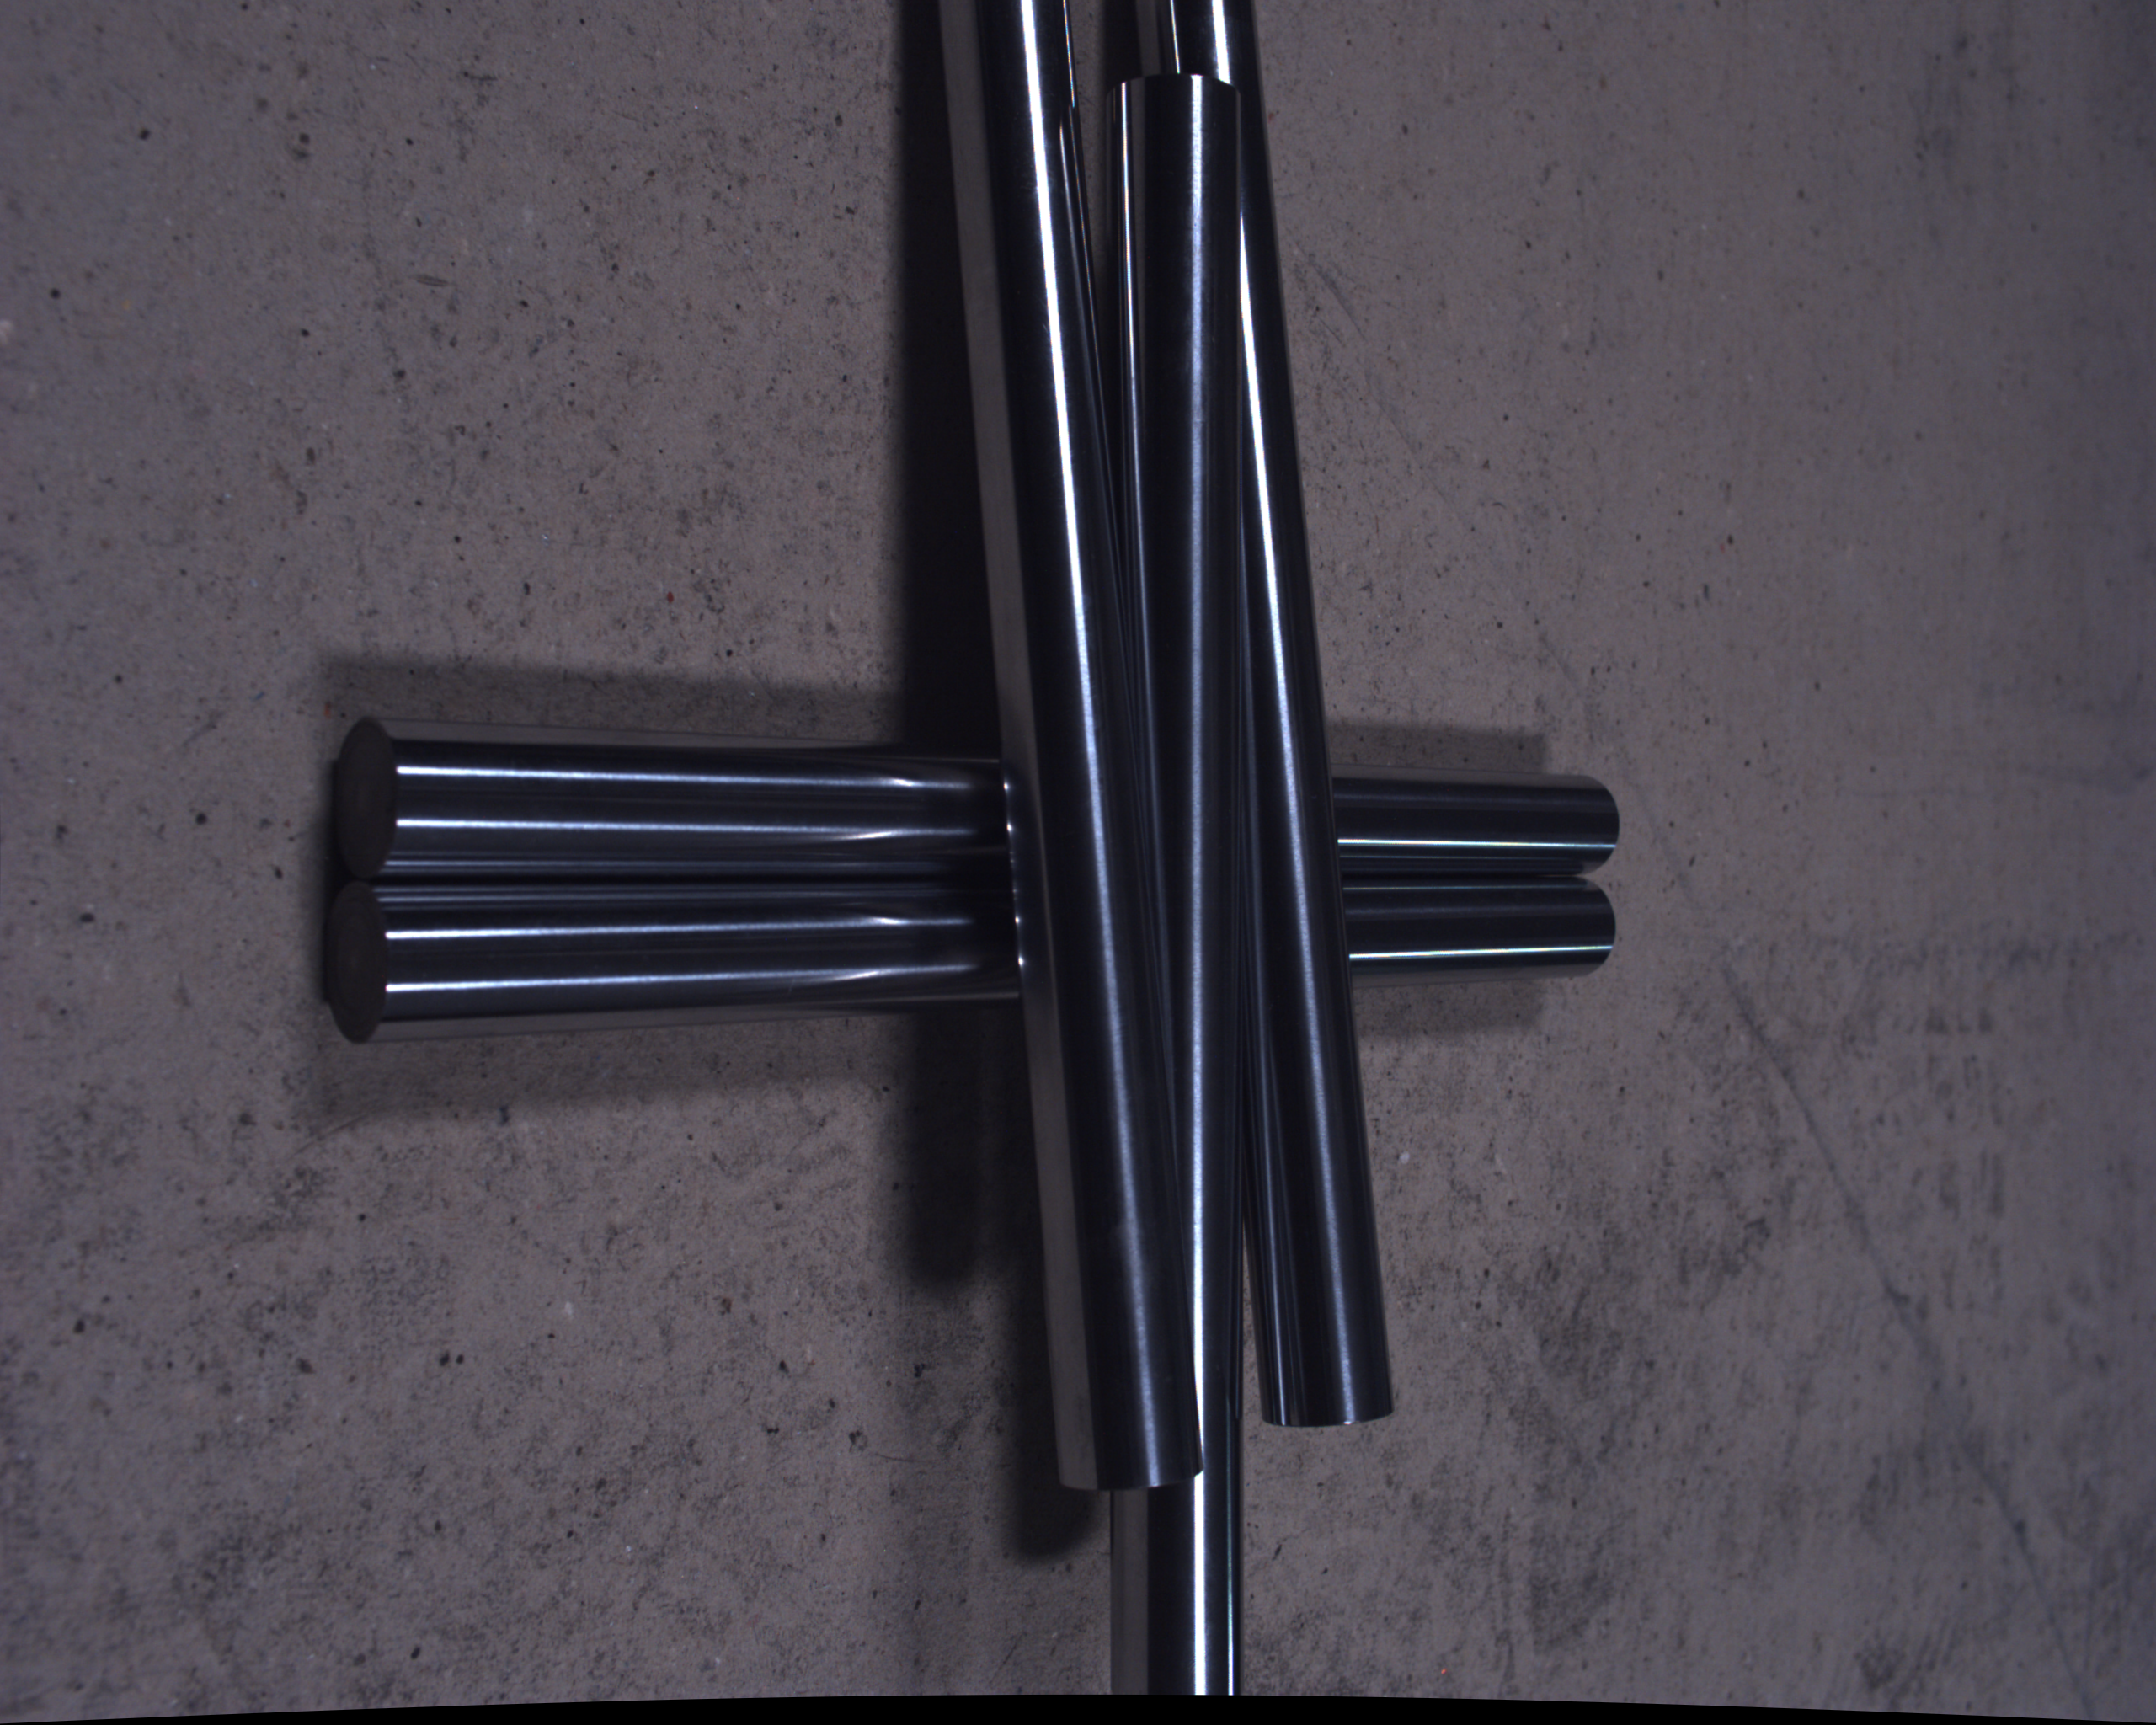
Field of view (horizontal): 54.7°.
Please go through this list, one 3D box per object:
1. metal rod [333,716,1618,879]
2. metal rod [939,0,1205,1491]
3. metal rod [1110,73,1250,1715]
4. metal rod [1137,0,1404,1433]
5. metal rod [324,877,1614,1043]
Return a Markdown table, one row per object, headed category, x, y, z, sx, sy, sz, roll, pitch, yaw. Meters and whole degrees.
| category | x | y | z | sx | sy | sz | roll | pitch | yaw |
| --- | --- | --- | --- | --- | --- | --- | --- | --- | --- |
| metal rod | 0.007 | -0.010 | 0.415 | 0.302 | 0.025 | 0.025 | 0 | 90 | -40 |
| metal rod | -0.003 | -0.041 | 0.378 | 0.025 | 0.025 | 0.298 | 0 | 82 | -40 |
| metal rod | 0.019 | 0.006 | 0.391 | 0.025 | 0.025 | 0.298 | 0 | 90 | -40 |
| metal rod | 0.036 | -0.042 | 0.411 | 0.025 | 0.025 | 0.298 | 0 | 82 | -40 |
| metal rod | 0.006 | 0.015 | 0.414 | 0.302 | 0.025 | 0.025 | 0 | 90 | -40 |
